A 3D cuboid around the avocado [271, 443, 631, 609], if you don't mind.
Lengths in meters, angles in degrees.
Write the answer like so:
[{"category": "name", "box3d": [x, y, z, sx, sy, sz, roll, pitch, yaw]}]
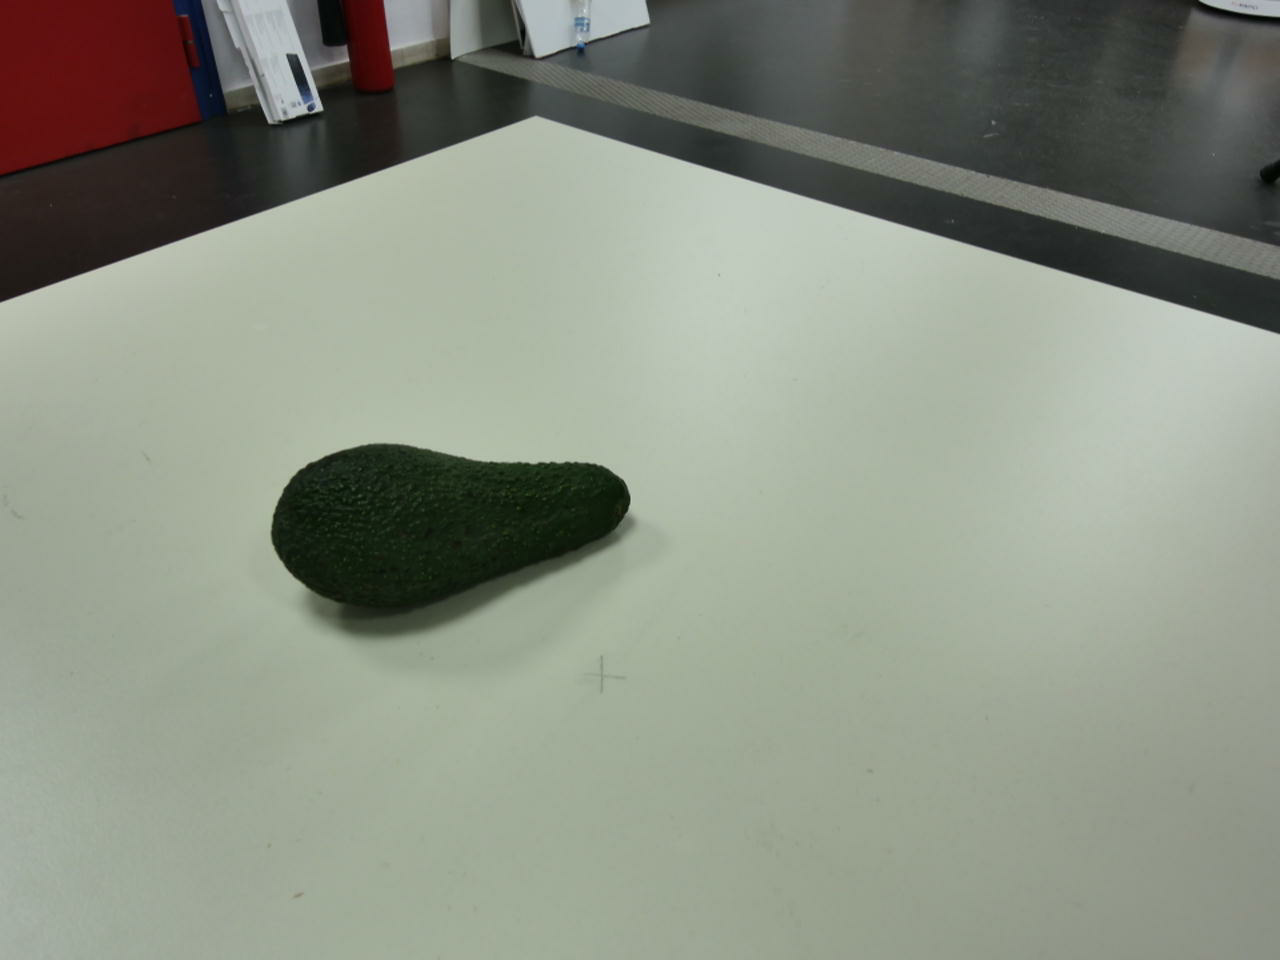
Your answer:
[{"category": "avocado", "box3d": [-0.071, 0.006, 0.392, 0.141, 0.067, 0.063, -24, 42, -30]}]
